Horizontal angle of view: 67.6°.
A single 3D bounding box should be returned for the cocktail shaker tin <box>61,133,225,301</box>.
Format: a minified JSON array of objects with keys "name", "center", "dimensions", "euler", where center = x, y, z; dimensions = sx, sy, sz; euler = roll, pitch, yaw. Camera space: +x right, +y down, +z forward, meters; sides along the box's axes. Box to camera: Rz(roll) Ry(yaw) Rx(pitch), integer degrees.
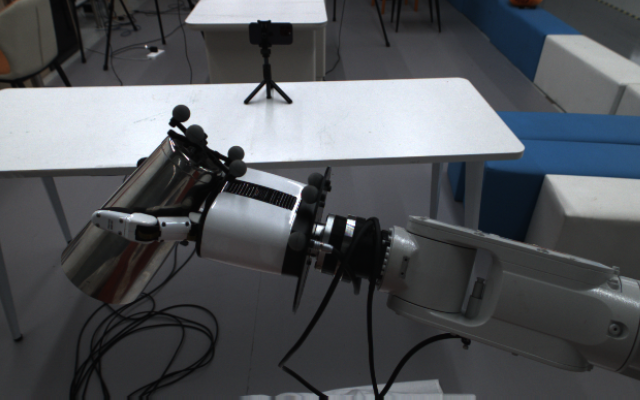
[{"name":"cocktail shaker tin","center":[-0.177,0.013,0.506],"dimensions":[0.093,0.170,0.093],"euler":[41,12,-11]}]
